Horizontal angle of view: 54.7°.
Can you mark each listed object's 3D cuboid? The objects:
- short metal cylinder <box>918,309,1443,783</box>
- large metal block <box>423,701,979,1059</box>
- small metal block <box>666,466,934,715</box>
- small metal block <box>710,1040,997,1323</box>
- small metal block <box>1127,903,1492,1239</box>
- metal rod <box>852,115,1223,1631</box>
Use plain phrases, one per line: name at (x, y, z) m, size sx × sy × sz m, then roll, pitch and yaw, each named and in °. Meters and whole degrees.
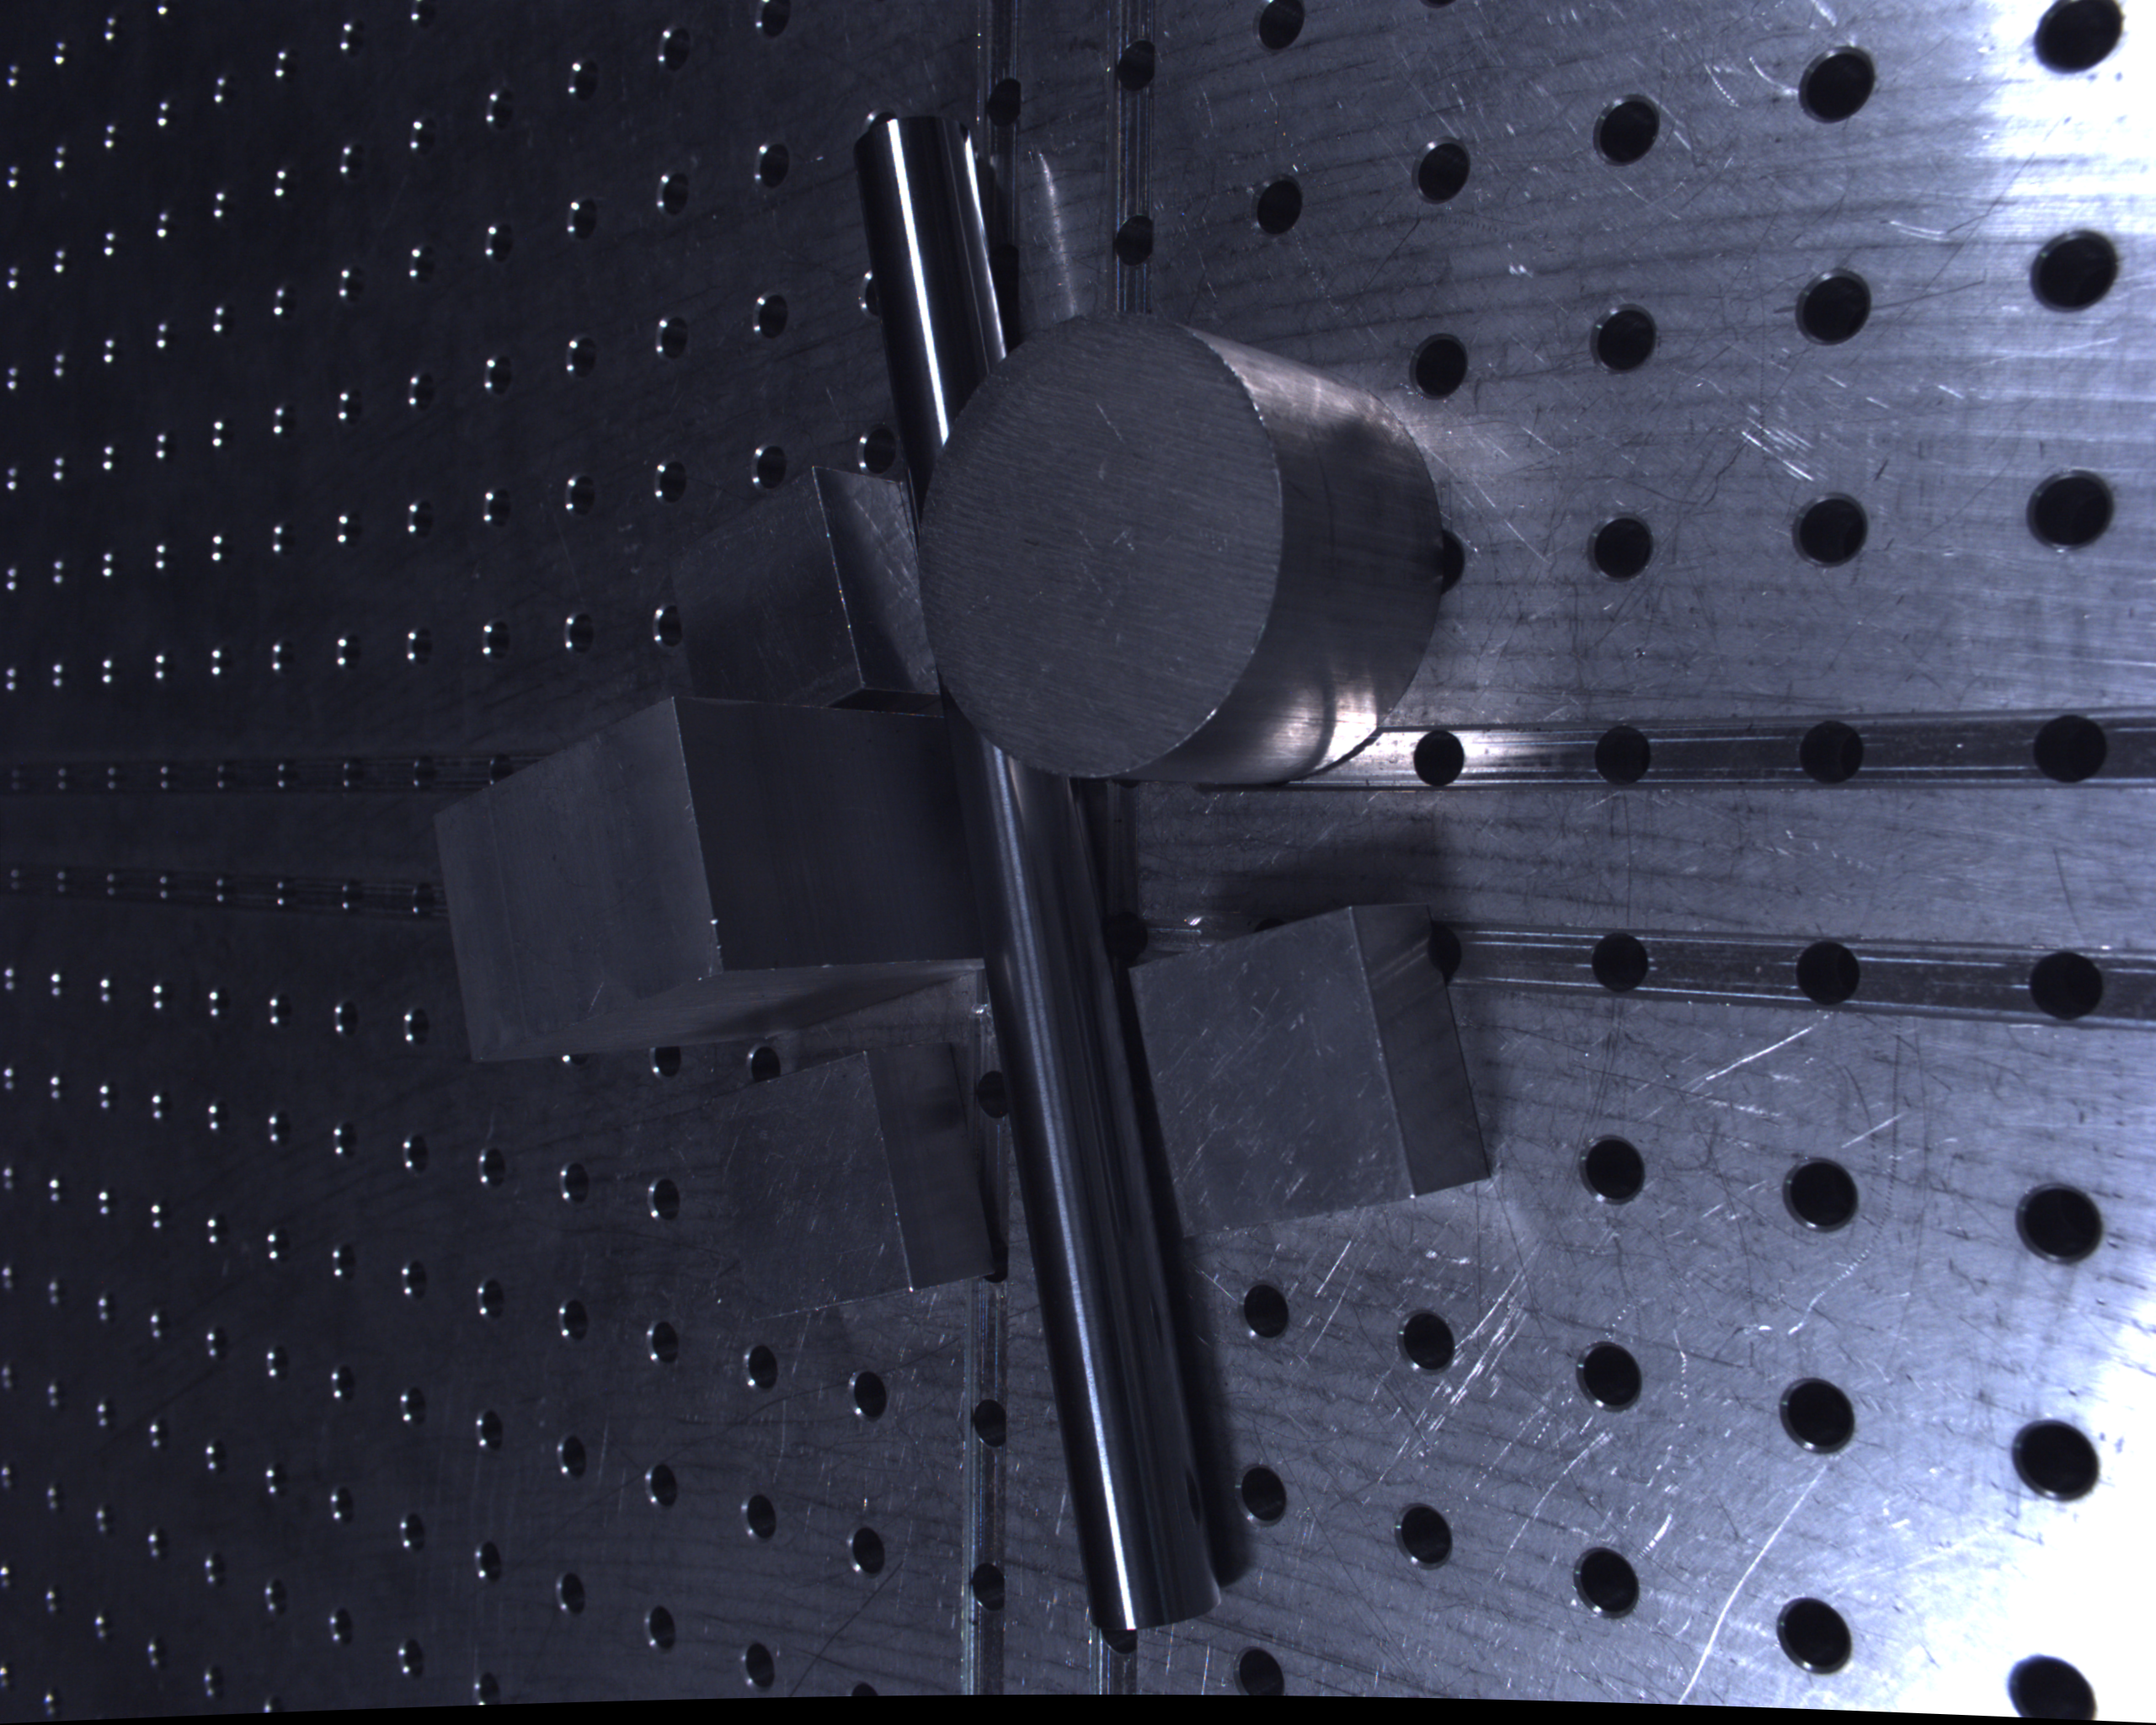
short metal cylinder at (0.018, -0.055, 0.376) m, size 0.080 × 0.050 × 0.079 m, roll 0°, pitch 90°, yaw 39°
large metal block at (-0.074, 0.005, 0.430) m, size 0.080 × 0.081 × 0.050 m, roll -19°, pitch 78°, yaw 38°
small metal block at (-0.060, -0.052, 0.456) m, size 0.050 × 0.025 × 0.050 m, roll -22°, pitch 76°, yaw 37°
small metal block at (-0.049, 0.068, 0.447) m, size 0.050 × 0.025 × 0.050 m, roll -20°, pitch 78°, yaw 38°
small metal block at (0.041, 0.037, 0.374) m, size 0.050 × 0.025 × 0.050 m, roll -19°, pitch 78°, yaw 38°
metal rod at (-0.010, -0.004, 0.415) m, size 0.025 × 0.025 × 0.298 m, roll -16°, pitch 80°, yaw 38°
